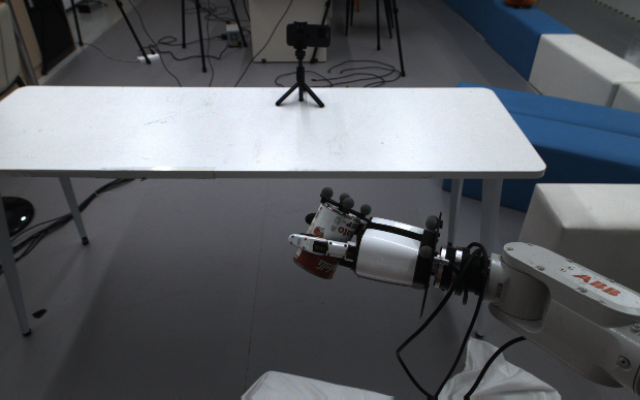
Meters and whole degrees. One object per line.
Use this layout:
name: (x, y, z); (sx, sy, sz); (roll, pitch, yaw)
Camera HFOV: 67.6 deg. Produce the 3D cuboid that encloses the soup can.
soup can: (0.012, 0.060, 0.736); (0.067, 0.101, 0.067); (26, 6, -3)
